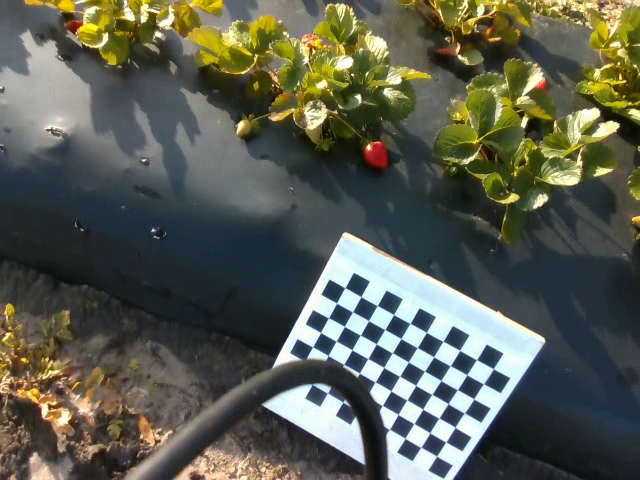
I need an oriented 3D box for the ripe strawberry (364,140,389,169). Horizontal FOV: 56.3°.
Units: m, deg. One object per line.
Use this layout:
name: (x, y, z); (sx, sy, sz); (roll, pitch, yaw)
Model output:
ripe strawberry: (0.073, -0.105, 0.738); (0.030, 0.045, 0.033); (-33, -28, 18)
